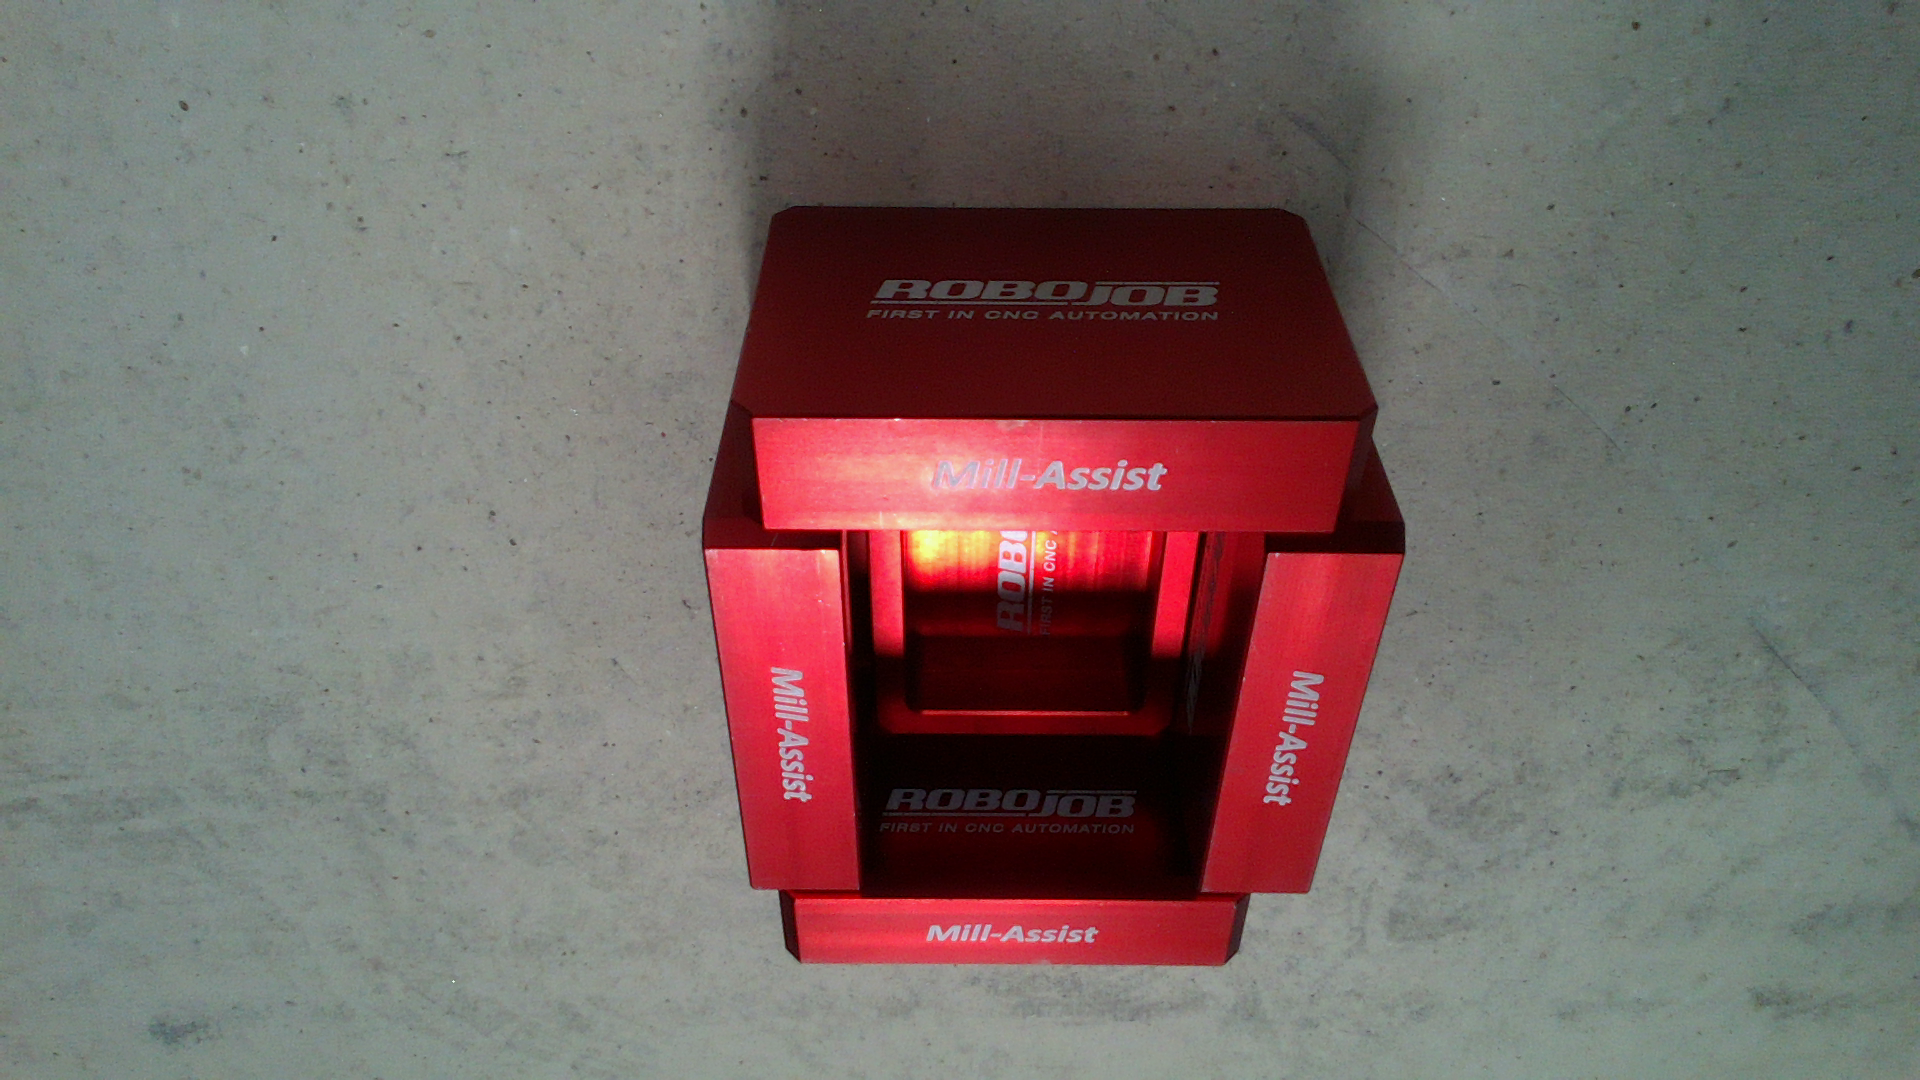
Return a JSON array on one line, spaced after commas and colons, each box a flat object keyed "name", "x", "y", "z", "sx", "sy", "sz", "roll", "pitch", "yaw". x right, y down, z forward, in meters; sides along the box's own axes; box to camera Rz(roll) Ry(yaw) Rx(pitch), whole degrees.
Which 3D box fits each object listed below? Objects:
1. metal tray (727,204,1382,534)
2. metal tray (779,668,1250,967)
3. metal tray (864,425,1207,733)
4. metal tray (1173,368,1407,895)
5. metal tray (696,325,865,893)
[{"name": "metal tray", "x": 0.019, "y": -0.042, "z": 0.312, "sx": 0.130, "sy": 0.090, "sz": 0.030, "roll": 1, "pitch": 130, "yaw": -1}, {"name": "metal tray", "x": 0.015, "y": 0.081, "z": 0.416, "sx": 0.130, "sy": 0.090, "sz": 0.030, "roll": 1, "pitch": 130, "yaw": -1}, {"name": "metal tray", "x": 0.019, "y": 0.000, "z": 0.387, "sx": 0.090, "sy": 0.030, "sz": 0.130, "roll": 0, "pitch": 130, "yaw": -1}, {"name": "metal tray", "x": 0.080, "y": 0.020, "z": 0.365, "sx": 0.030, "sy": 0.090, "sz": 0.130, "roll": 0, "pitch": 130, "yaw": 0}, {"name": "metal tray", "x": -0.041, "y": 0.019, "z": 0.364, "sx": 0.030, "sy": 0.090, "sz": 0.130, "roll": 0, "pitch": 130, "yaw": 0}]
